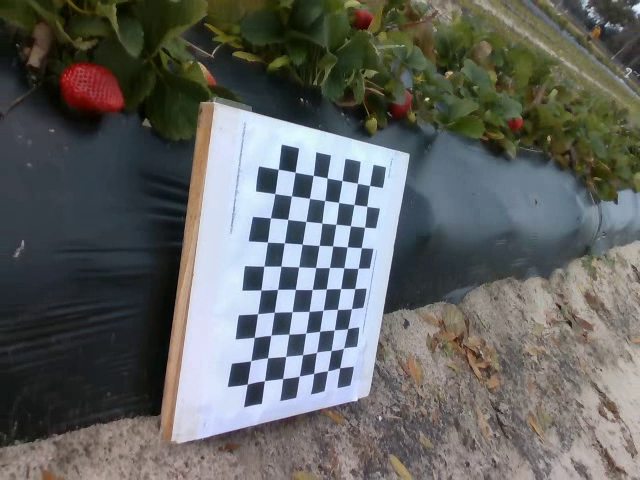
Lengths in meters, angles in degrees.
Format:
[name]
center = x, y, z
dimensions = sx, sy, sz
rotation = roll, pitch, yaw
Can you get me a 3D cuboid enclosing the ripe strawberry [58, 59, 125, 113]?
[ripe strawberry]
center = -0.135, -0.092, 0.363
dimensions = 0.046, 0.037, 0.037
rotation = 41, -24, 11
